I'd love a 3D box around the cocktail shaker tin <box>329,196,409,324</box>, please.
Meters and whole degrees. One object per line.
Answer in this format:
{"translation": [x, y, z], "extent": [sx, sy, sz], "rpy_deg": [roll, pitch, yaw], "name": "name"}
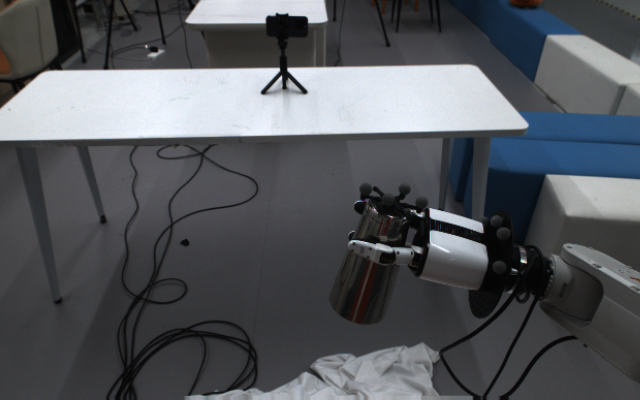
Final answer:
{"translation": [0.081, 0.082, 0.710], "extent": [0.093, 0.170, 0.093], "rpy_deg": [12, 25, -6], "name": "cocktail shaker tin"}
